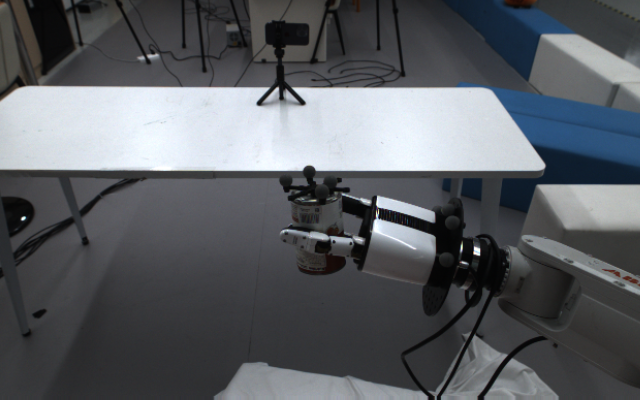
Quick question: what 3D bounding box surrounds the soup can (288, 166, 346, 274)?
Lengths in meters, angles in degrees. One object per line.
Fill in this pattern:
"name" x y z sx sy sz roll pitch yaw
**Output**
"soup can" 0.000 0.038 0.633 0.067 0.101 0.067 -4 21 1
